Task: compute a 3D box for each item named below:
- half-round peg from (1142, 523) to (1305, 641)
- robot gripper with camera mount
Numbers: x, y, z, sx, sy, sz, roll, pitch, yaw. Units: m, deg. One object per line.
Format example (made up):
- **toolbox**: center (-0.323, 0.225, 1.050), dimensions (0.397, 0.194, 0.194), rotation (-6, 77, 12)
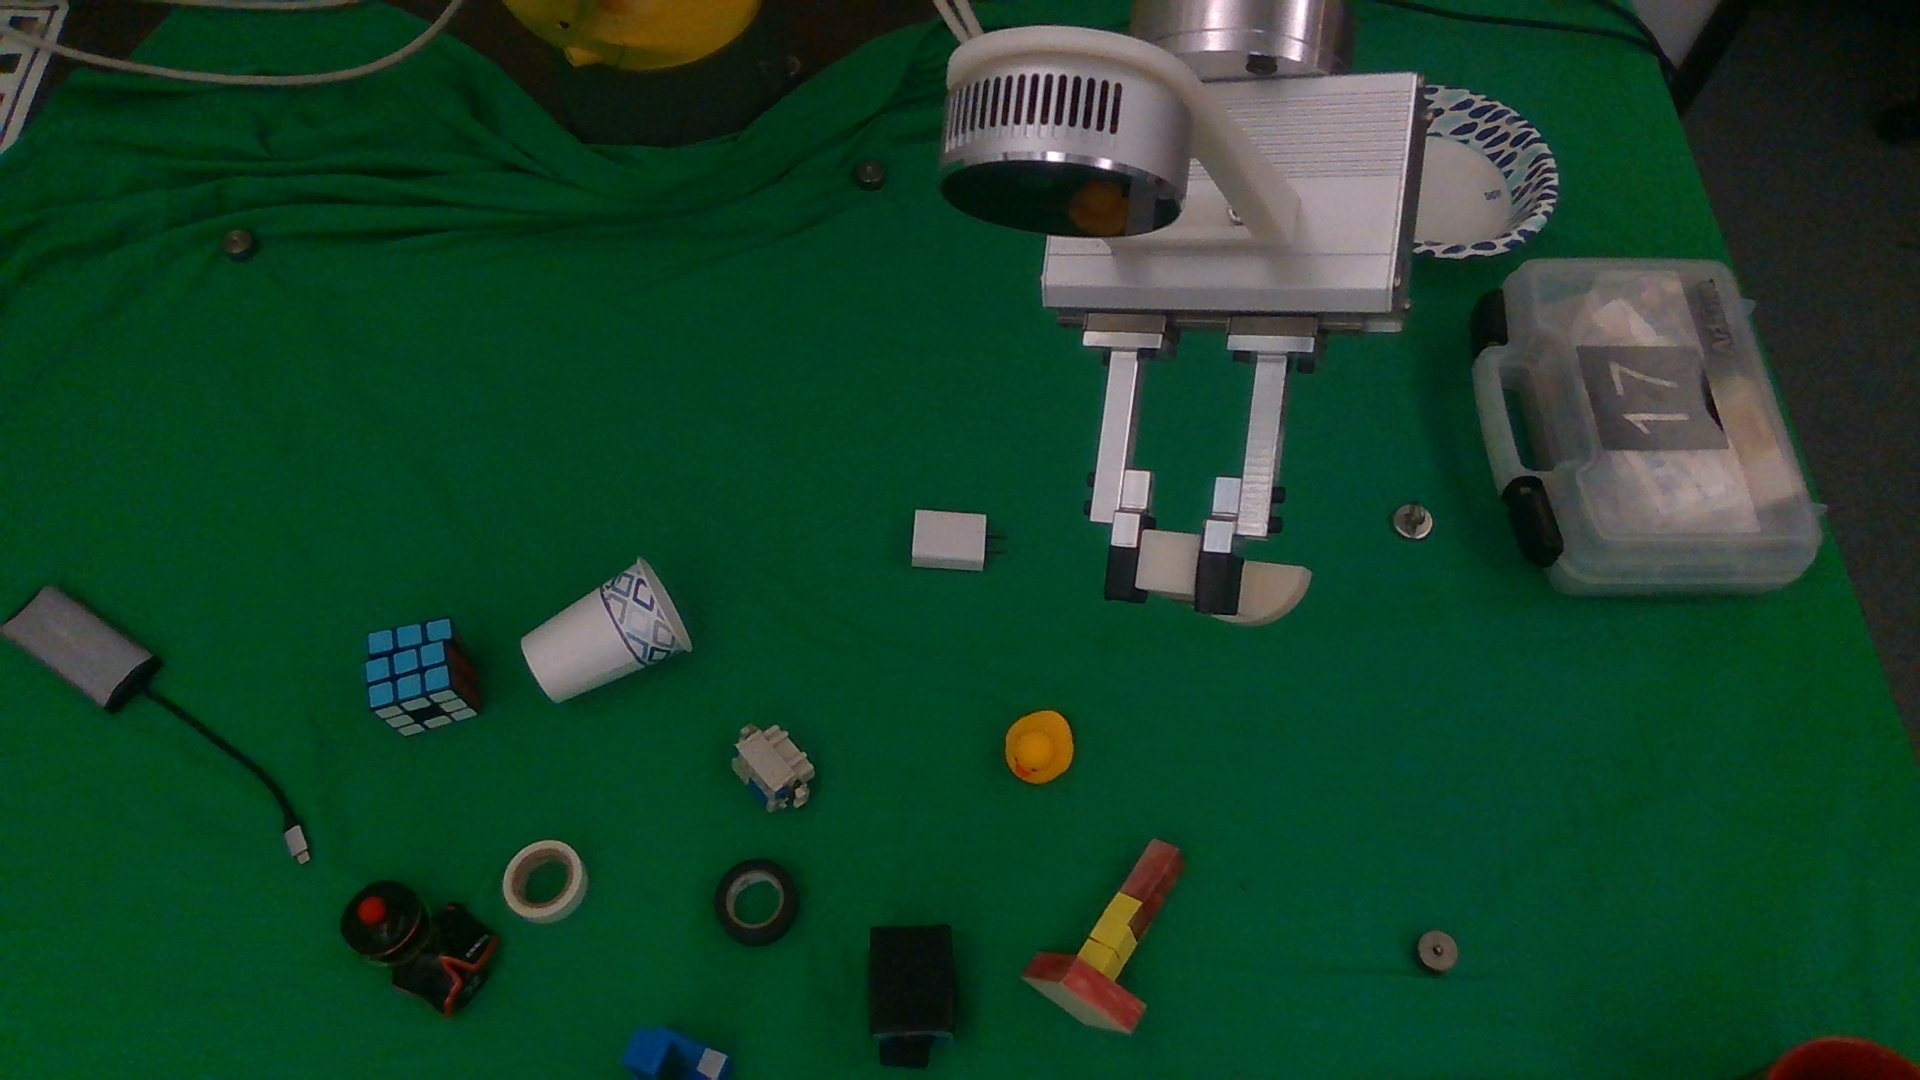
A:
- **half-round peg**: center (0.090, 0.015, 0.507), dimensions (0.054, 0.121, 0.031), rotation (3, 81, 23)
- **robot gripper with camera mount**: center (0.050, -0.063, 0.397), dimensions (0.119, 0.193, 0.158), rotation (7, 85, 25)
